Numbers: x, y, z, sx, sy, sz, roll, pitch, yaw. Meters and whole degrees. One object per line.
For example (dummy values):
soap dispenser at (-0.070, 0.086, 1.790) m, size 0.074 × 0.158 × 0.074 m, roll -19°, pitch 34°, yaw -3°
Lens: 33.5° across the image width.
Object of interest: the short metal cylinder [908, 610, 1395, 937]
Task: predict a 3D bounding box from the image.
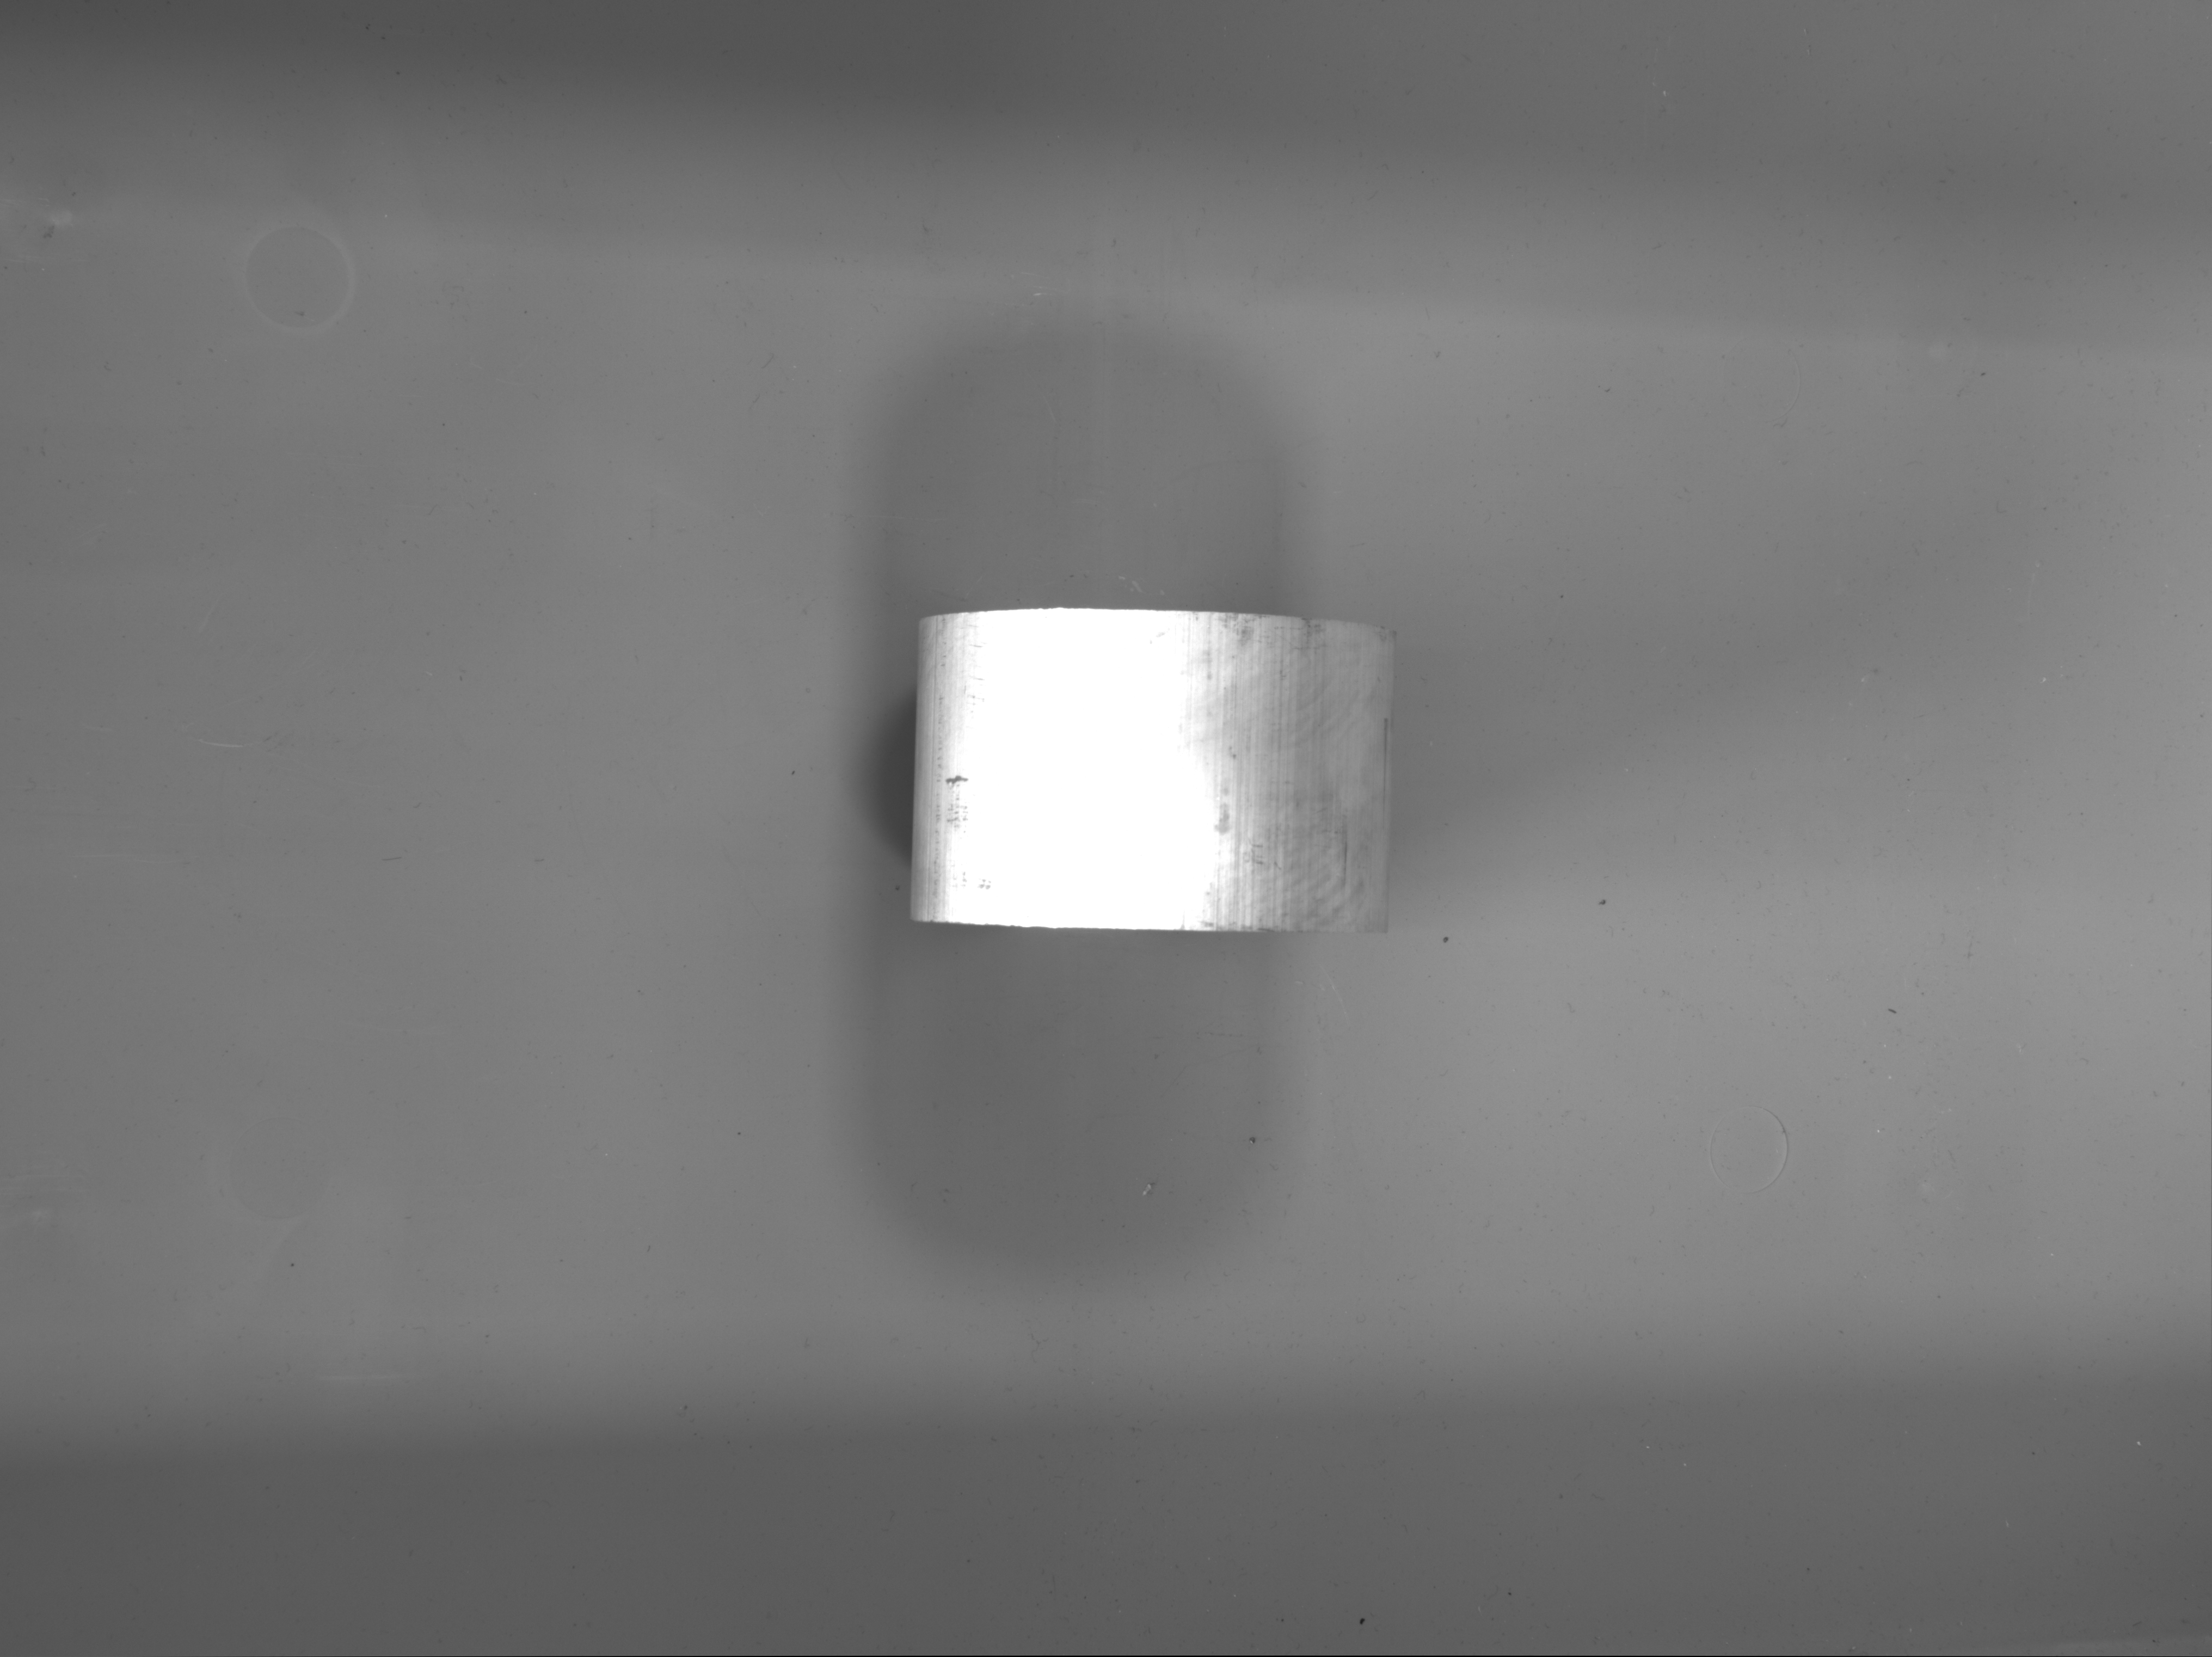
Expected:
short metal cylinder at (0.008, -0.008, 0.614) m, size 0.080 × 0.080 × 0.050 m, roll 2°, pitch 89°, yaw -20°
